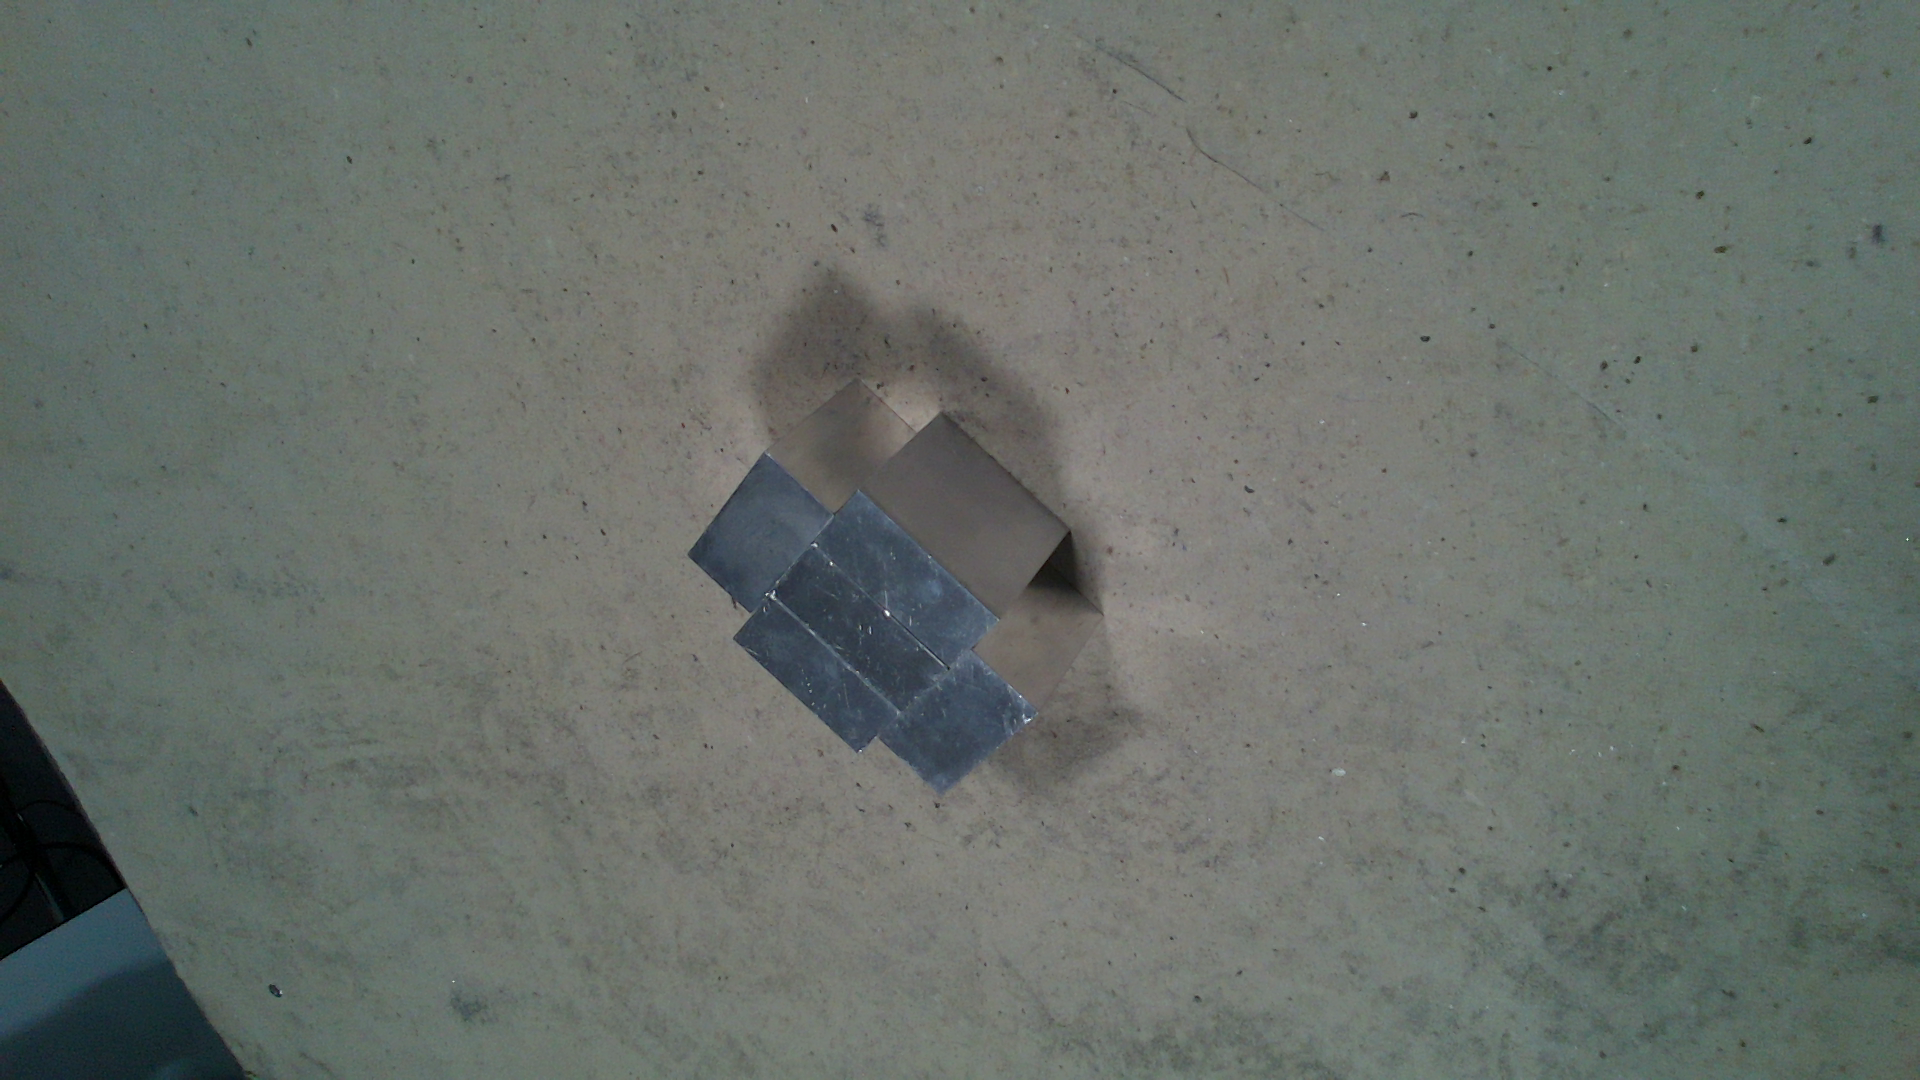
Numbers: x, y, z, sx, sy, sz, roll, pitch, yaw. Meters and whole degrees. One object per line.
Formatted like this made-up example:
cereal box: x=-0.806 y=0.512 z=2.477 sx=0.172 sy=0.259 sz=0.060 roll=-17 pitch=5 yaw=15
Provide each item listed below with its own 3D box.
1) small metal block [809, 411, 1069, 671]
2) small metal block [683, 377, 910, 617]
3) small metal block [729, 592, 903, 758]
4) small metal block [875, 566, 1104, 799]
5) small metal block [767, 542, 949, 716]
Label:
small metal block: x=-0.005 y=-0.001 z=0.378 sx=0.050 sy=0.050 sz=0.025 roll=42 pitch=129 yaw=-1
small metal block: x=-0.045 y=-0.012 z=0.393 sx=0.025 sy=0.050 sz=0.050 roll=43 pitch=129 yaw=-1
small metal block: x=-0.031 y=0.027 z=0.410 sx=0.050 sy=0.050 sz=0.025 roll=43 pitch=129 yaw=-1
small metal block: x=0.009 y=0.040 z=0.396 sx=0.025 sy=0.050 sz=0.050 roll=43 pitch=129 yaw=-1
small metal block: x=-0.018 y=0.013 z=0.394 sx=0.050 sy=0.050 sz=0.025 roll=43 pitch=129 yaw=-1
